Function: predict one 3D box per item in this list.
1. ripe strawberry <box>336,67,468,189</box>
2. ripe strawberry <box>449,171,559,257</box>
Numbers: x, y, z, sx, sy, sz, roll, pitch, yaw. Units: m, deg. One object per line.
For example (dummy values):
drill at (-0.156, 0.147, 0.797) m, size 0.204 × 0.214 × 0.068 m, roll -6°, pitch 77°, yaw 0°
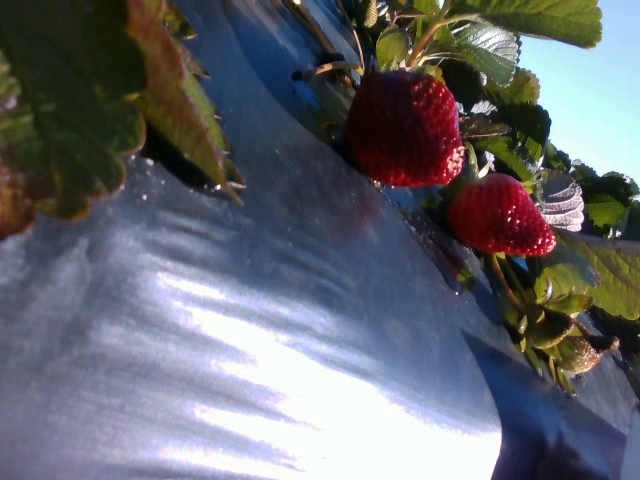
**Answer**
ripe strawberry at (0.032, -0.035, 0.196) m, size 0.044 × 0.051 × 0.050 m, roll -40°, pitch 33°, yaw -6°
ripe strawberry at (0.078, -0.007, 0.246) m, size 0.042 × 0.039 × 0.049 m, roll -23°, pitch 46°, yaw -37°
